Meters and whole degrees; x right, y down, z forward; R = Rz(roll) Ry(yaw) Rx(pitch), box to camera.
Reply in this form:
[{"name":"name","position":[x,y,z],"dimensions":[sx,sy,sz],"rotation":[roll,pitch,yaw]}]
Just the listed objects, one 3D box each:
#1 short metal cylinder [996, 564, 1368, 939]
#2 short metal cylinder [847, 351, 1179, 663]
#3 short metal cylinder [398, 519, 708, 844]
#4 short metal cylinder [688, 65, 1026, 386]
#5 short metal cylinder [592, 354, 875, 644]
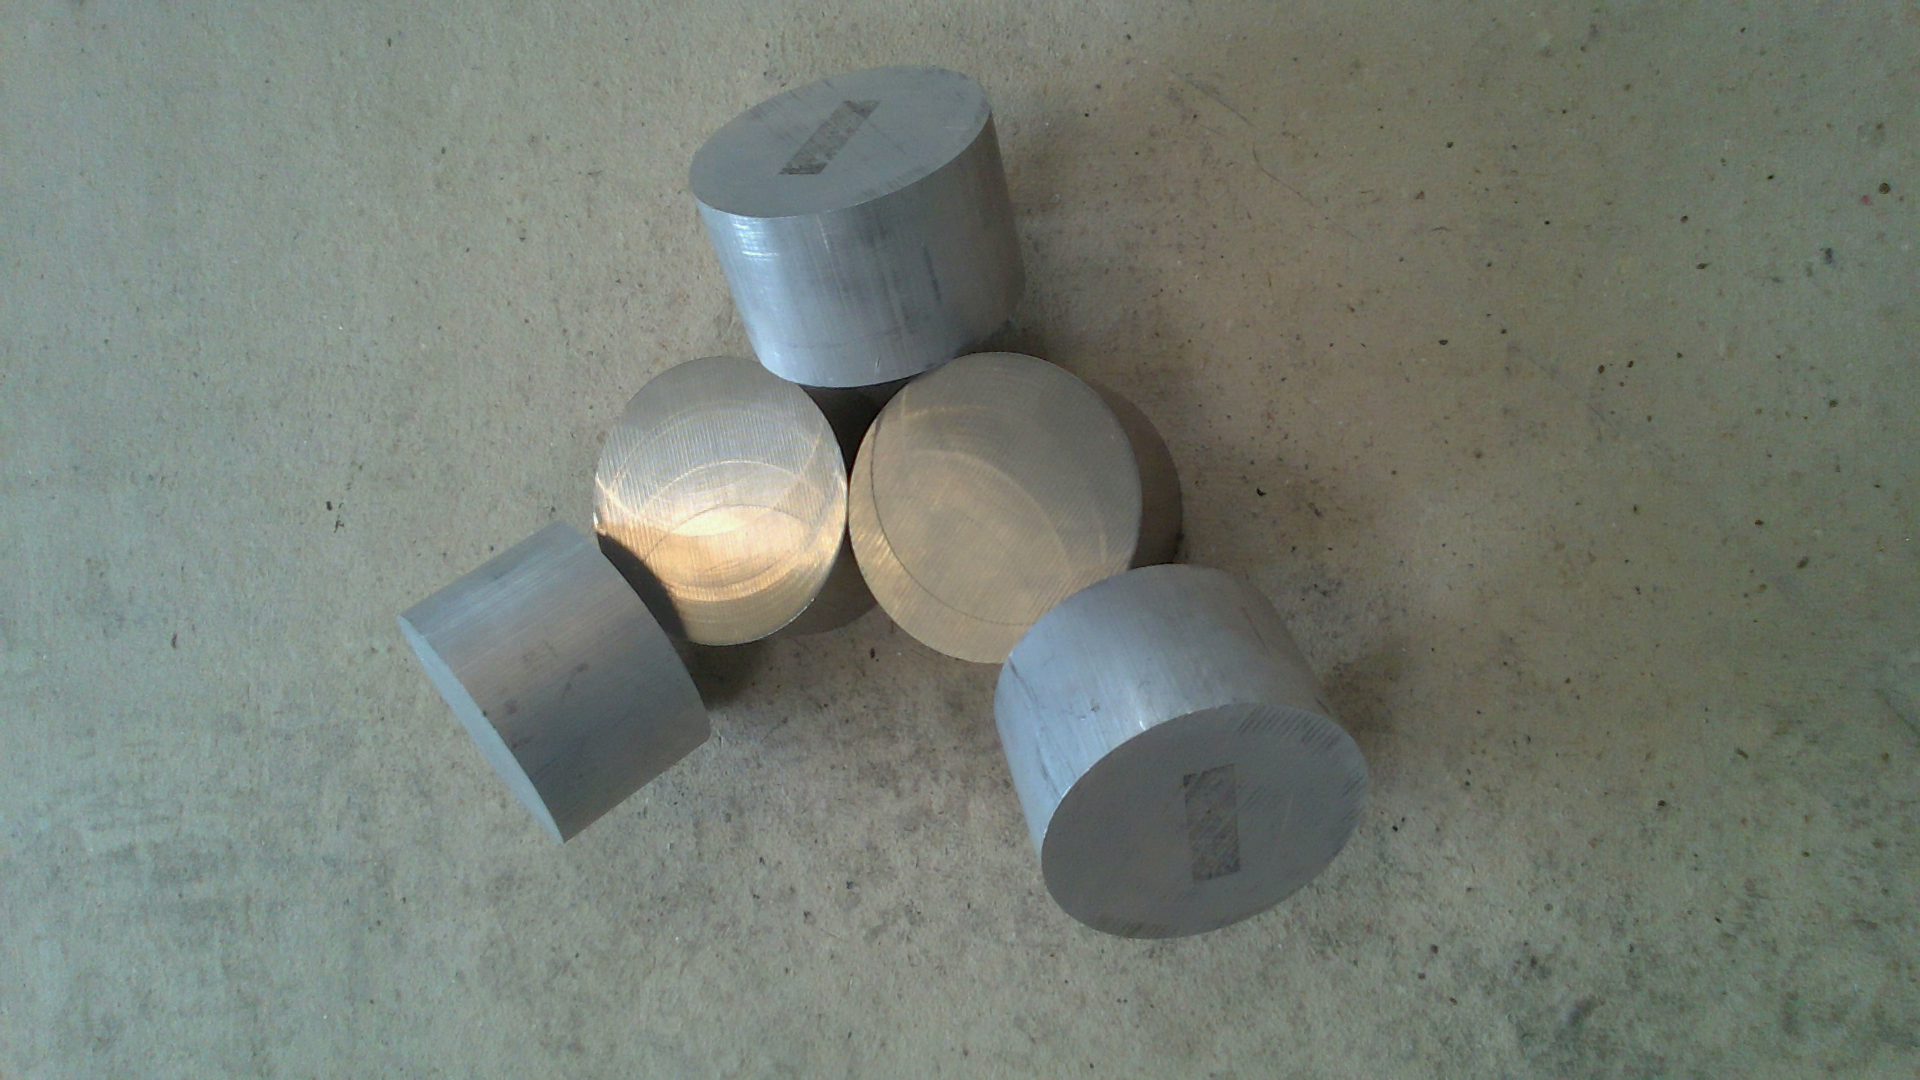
[{"name":"short metal cylinder","position":[0.053,0.053,0.341],"dimensions":[0.080,0.080,0.050],"rotation":[-39,36,16]},{"name":"short metal cylinder","position":[0.016,-0.008,0.377],"dimensions":[0.080,0.050,0.080],"rotation":[0,90,20]},{"name":"short metal cylinder","position":[-0.118,0.041,0.403],"dimensions":[0.050,0.080,0.080],"rotation":[-36,75,-24]},{"name":"short metal cylinder","position":[-0.026,-0.086,0.370],"dimensions":[0.080,0.080,0.050],"rotation":[2,133,20]},{"name":"short metal cylinder","position":[-0.059,-0.011,0.404],"dimensions":[0.080,0.050,0.080],"rotation":[0,90,20]}]
